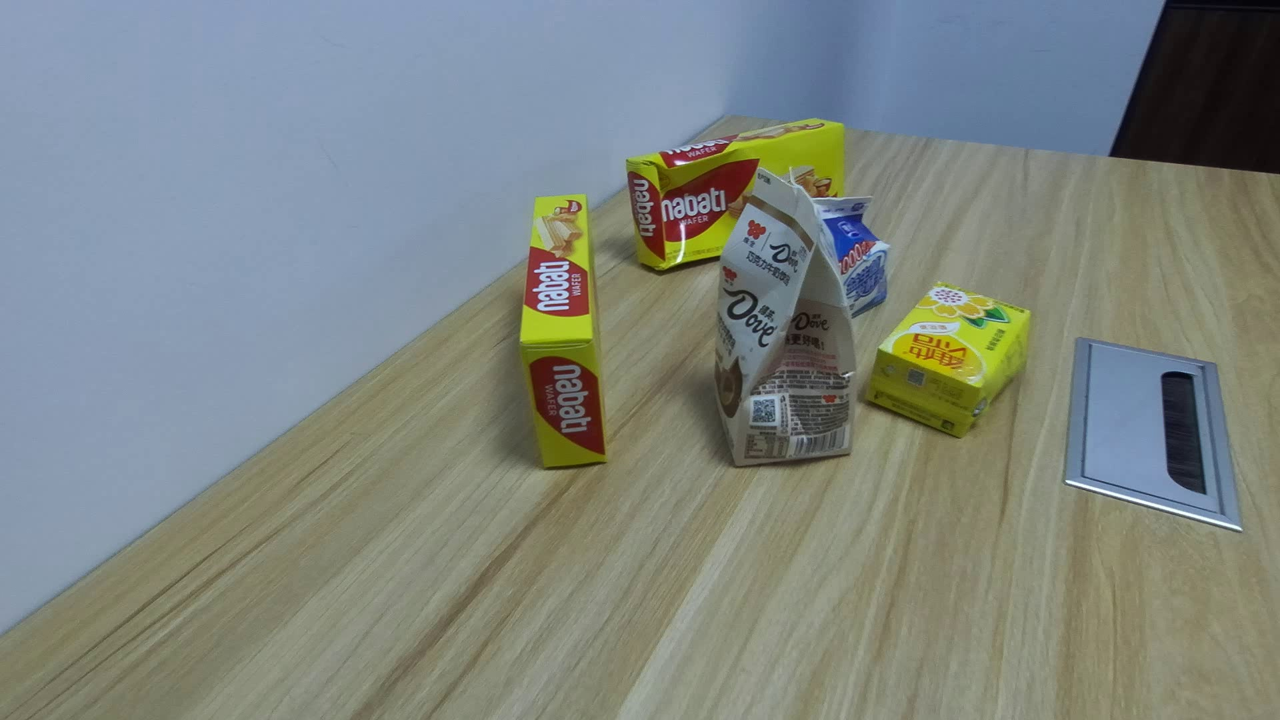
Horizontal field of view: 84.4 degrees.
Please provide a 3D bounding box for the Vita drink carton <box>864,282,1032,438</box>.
[{"bbox_3d":[0.206,-0.002,0.461,0.076,0.043,0.109,26,42,30],"label":"Vita drink carton"}]

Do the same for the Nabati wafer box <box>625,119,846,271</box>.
[{"bbox_3d":[0.092,-0.148,0.628,0.204,0.096,0.042,-17,28,-21],"label":"Nabati wafer box"}]

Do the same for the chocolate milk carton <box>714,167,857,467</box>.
[{"bbox_3d":[0.084,-0.022,0.397,0.073,0.155,0.084,-6,36,-2],"label":"chocolate milk carton"}]

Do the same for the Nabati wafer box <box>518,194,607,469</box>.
[{"bbox_3d":[-0.048,-0.031,0.478,0.042,0.093,0.202,-5,35,-2],"label":"Nabati wafer box"}]

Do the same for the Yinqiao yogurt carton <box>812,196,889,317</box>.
[{"bbox_3d":[0.142,-0.085,0.537,0.083,0.093,0.077,-25,40,-30],"label":"Yinqiao yogurt carton"}]
